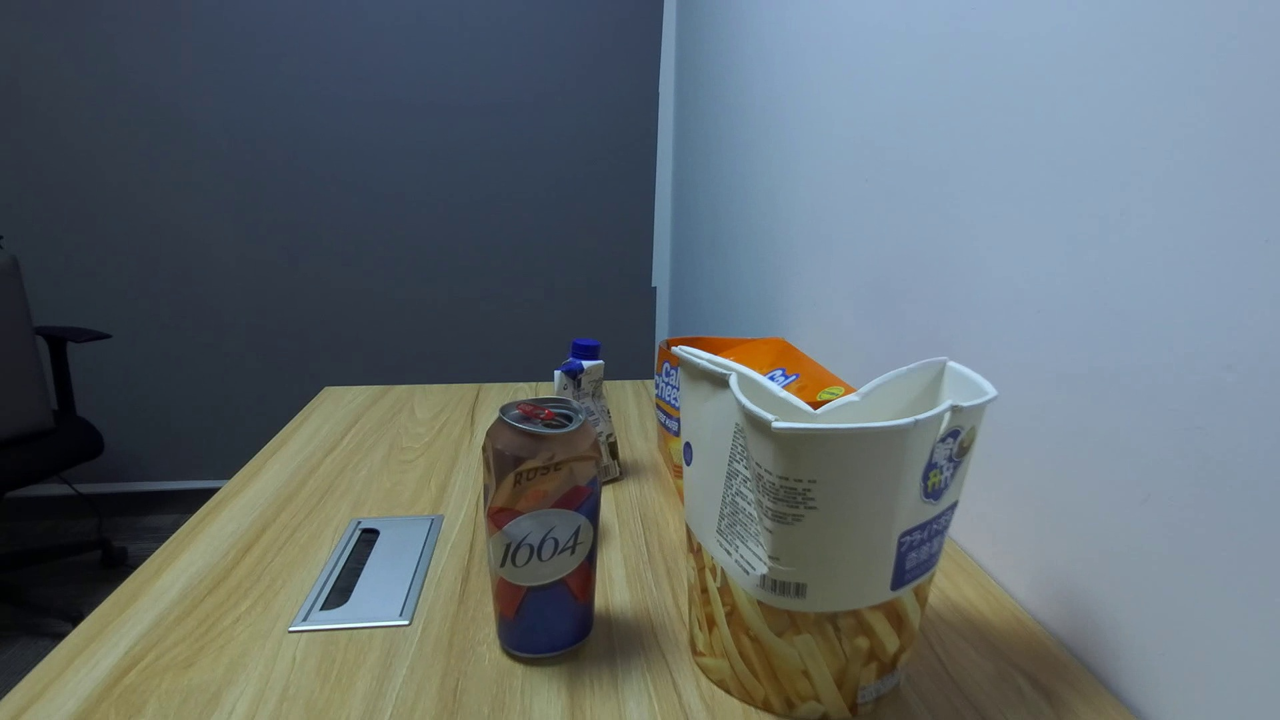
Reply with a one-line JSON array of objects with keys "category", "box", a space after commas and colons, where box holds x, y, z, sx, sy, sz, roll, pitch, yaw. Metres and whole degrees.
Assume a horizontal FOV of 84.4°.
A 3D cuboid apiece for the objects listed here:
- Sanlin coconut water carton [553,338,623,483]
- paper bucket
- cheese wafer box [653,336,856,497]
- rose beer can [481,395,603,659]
[{"category": "Sanlin coconut water carton", "box": [-0.062, 0.053, 0.712, 0.069, 0.145, 0.056, -20, 16, -34]}, {"category": "paper bucket", "box": [0.117, 0.097, 0.455, 0.163, 0.202, 0.168, -2, 19, -17]}, {"category": "cheese wafer box", "box": [0.109, 0.066, 0.721, 0.152, 0.132, 0.230, -2, 18, -11]}, {"category": "rose beer can", "box": [-0.063, 0.111, 0.461, 0.076, 0.167, 0.065, -3, 18, -19]}]
